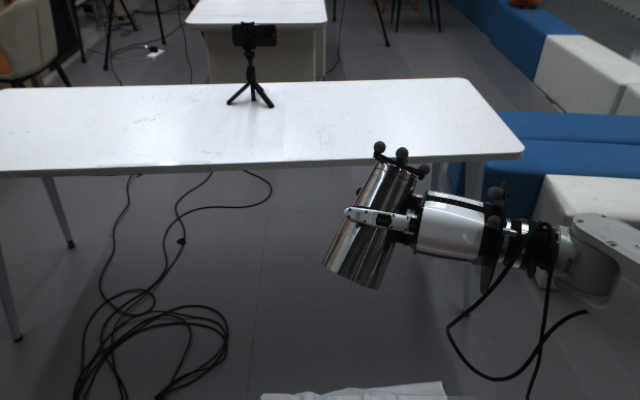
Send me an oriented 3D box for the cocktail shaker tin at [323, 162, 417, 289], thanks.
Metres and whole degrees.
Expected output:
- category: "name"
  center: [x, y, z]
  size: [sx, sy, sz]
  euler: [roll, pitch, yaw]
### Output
- category: "cocktail shaker tin"
  center: [0.080, 0.031, 0.707]
  size: [0.093, 0.170, 0.093]
  euler: [23, 0, 0]
